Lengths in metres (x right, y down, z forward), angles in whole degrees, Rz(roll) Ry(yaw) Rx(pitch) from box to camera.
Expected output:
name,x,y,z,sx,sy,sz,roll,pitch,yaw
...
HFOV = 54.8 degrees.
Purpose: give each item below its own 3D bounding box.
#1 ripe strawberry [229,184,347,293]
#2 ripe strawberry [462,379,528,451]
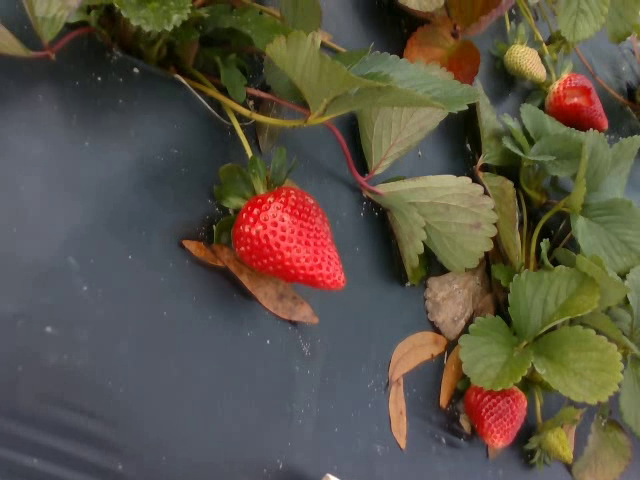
name,x,y,z,sx,sy,sz,roll,pitch,yaw
ripe strawberry,-0.010,0.005,0.272,0.065,0.047,0.042,41,-4,29
ripe strawberry,0.097,0.100,0.331,0.037,0.040,0.042,-26,25,30
